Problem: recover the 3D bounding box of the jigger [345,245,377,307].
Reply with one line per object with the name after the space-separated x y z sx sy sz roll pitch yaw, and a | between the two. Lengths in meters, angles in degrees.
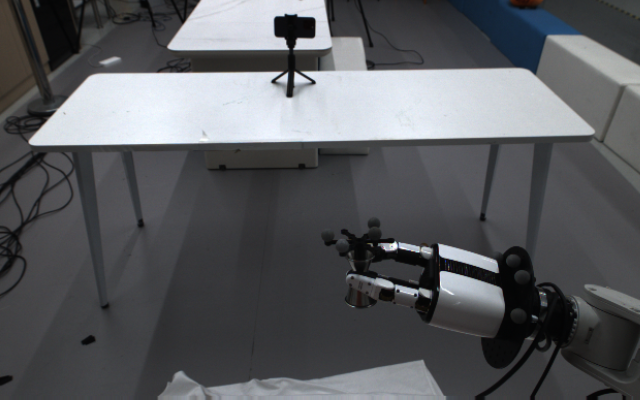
0.053 0.101 0.635 0.043 0.071 0.043 -2 19 1 | jigger
